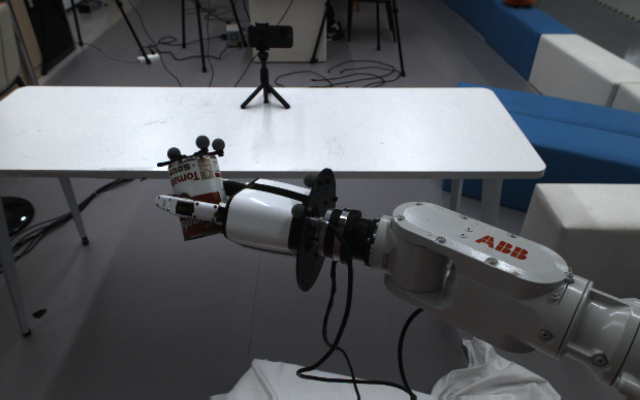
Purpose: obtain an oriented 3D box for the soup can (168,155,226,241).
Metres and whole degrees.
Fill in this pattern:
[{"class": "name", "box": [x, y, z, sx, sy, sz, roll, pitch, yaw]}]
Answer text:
[{"class": "soup can", "box": [-0.159, -0.001, 0.649, 0.067, 0.101, 0.067, -14, -2, -1]}]
